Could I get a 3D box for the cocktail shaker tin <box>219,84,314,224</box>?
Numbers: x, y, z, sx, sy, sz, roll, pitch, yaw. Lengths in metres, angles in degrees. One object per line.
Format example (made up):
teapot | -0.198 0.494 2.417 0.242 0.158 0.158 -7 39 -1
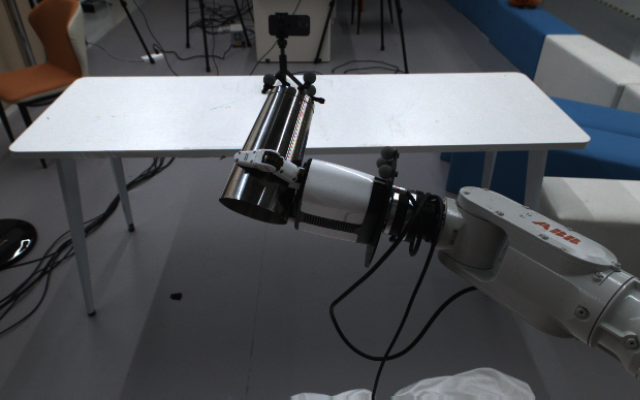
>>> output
cocktail shaker tin | -0.063 -0.063 0.646 0.093 0.093 0.170 13 73 15
